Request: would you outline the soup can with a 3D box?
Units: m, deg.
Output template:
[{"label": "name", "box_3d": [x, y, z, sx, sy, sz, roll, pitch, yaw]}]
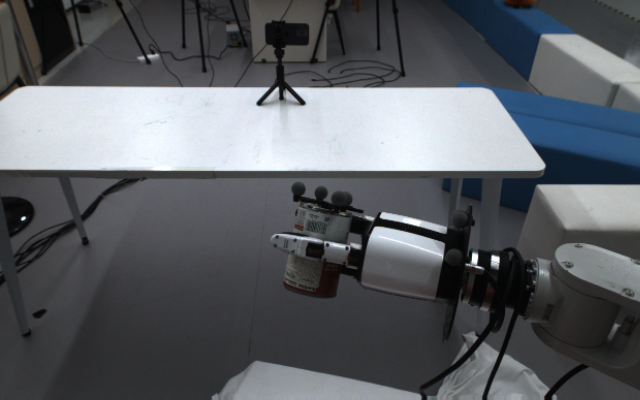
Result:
[{"label": "soup can", "box_3d": [-0.001, 0.059, 0.583, 0.067, 0.101, 0.067, 12, 2, 0]}]
